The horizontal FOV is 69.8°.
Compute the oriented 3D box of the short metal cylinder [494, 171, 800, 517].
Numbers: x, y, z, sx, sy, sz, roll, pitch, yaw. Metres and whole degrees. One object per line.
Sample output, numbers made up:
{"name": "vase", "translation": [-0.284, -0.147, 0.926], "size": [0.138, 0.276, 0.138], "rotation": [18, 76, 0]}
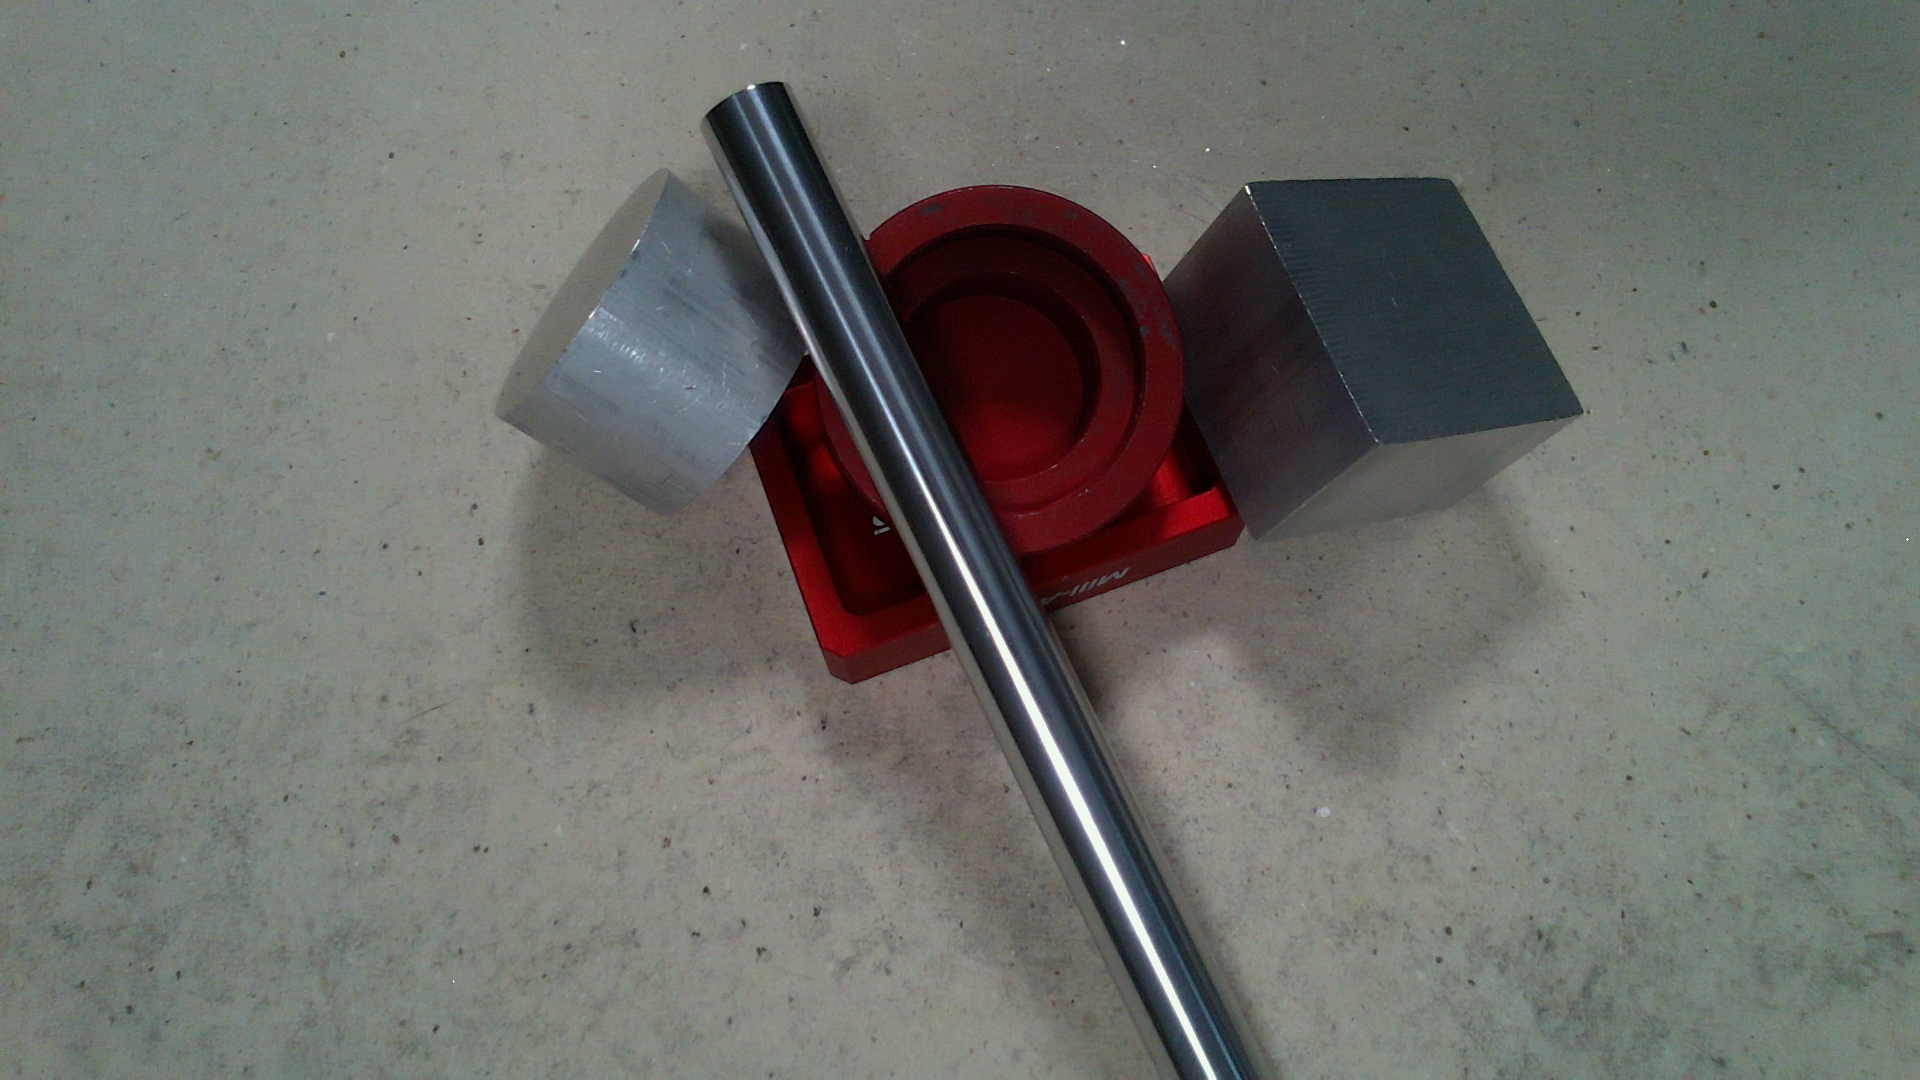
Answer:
{"name": "short metal cylinder", "translation": [-0.083, -0.054, 0.378], "size": [0.050, 0.080, 0.080], "rotation": [34, 70, -26]}

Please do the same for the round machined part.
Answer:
{"name": "round machined part", "translation": [0.009, -0.044, 0.376], "size": [0.098, 0.042, 0.098], "rotation": [0, 85, -4]}

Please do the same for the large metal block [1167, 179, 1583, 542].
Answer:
{"name": "large metal block", "translation": [0.110, -0.052, 0.383], "size": [0.080, 0.050, 0.080], "rotation": [-10, 68, -31]}

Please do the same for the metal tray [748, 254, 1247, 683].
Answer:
{"name": "metal tray", "translation": [0.009, -0.023, 0.400], "size": [0.130, 0.030, 0.090], "rotation": [-20, 71, -7]}

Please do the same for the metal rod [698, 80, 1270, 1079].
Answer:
{"name": "metal rod", "translation": [0.012, 0.028, 0.338], "size": [0.025, 0.025, 0.300], "rotation": [-26, 89, -9]}
